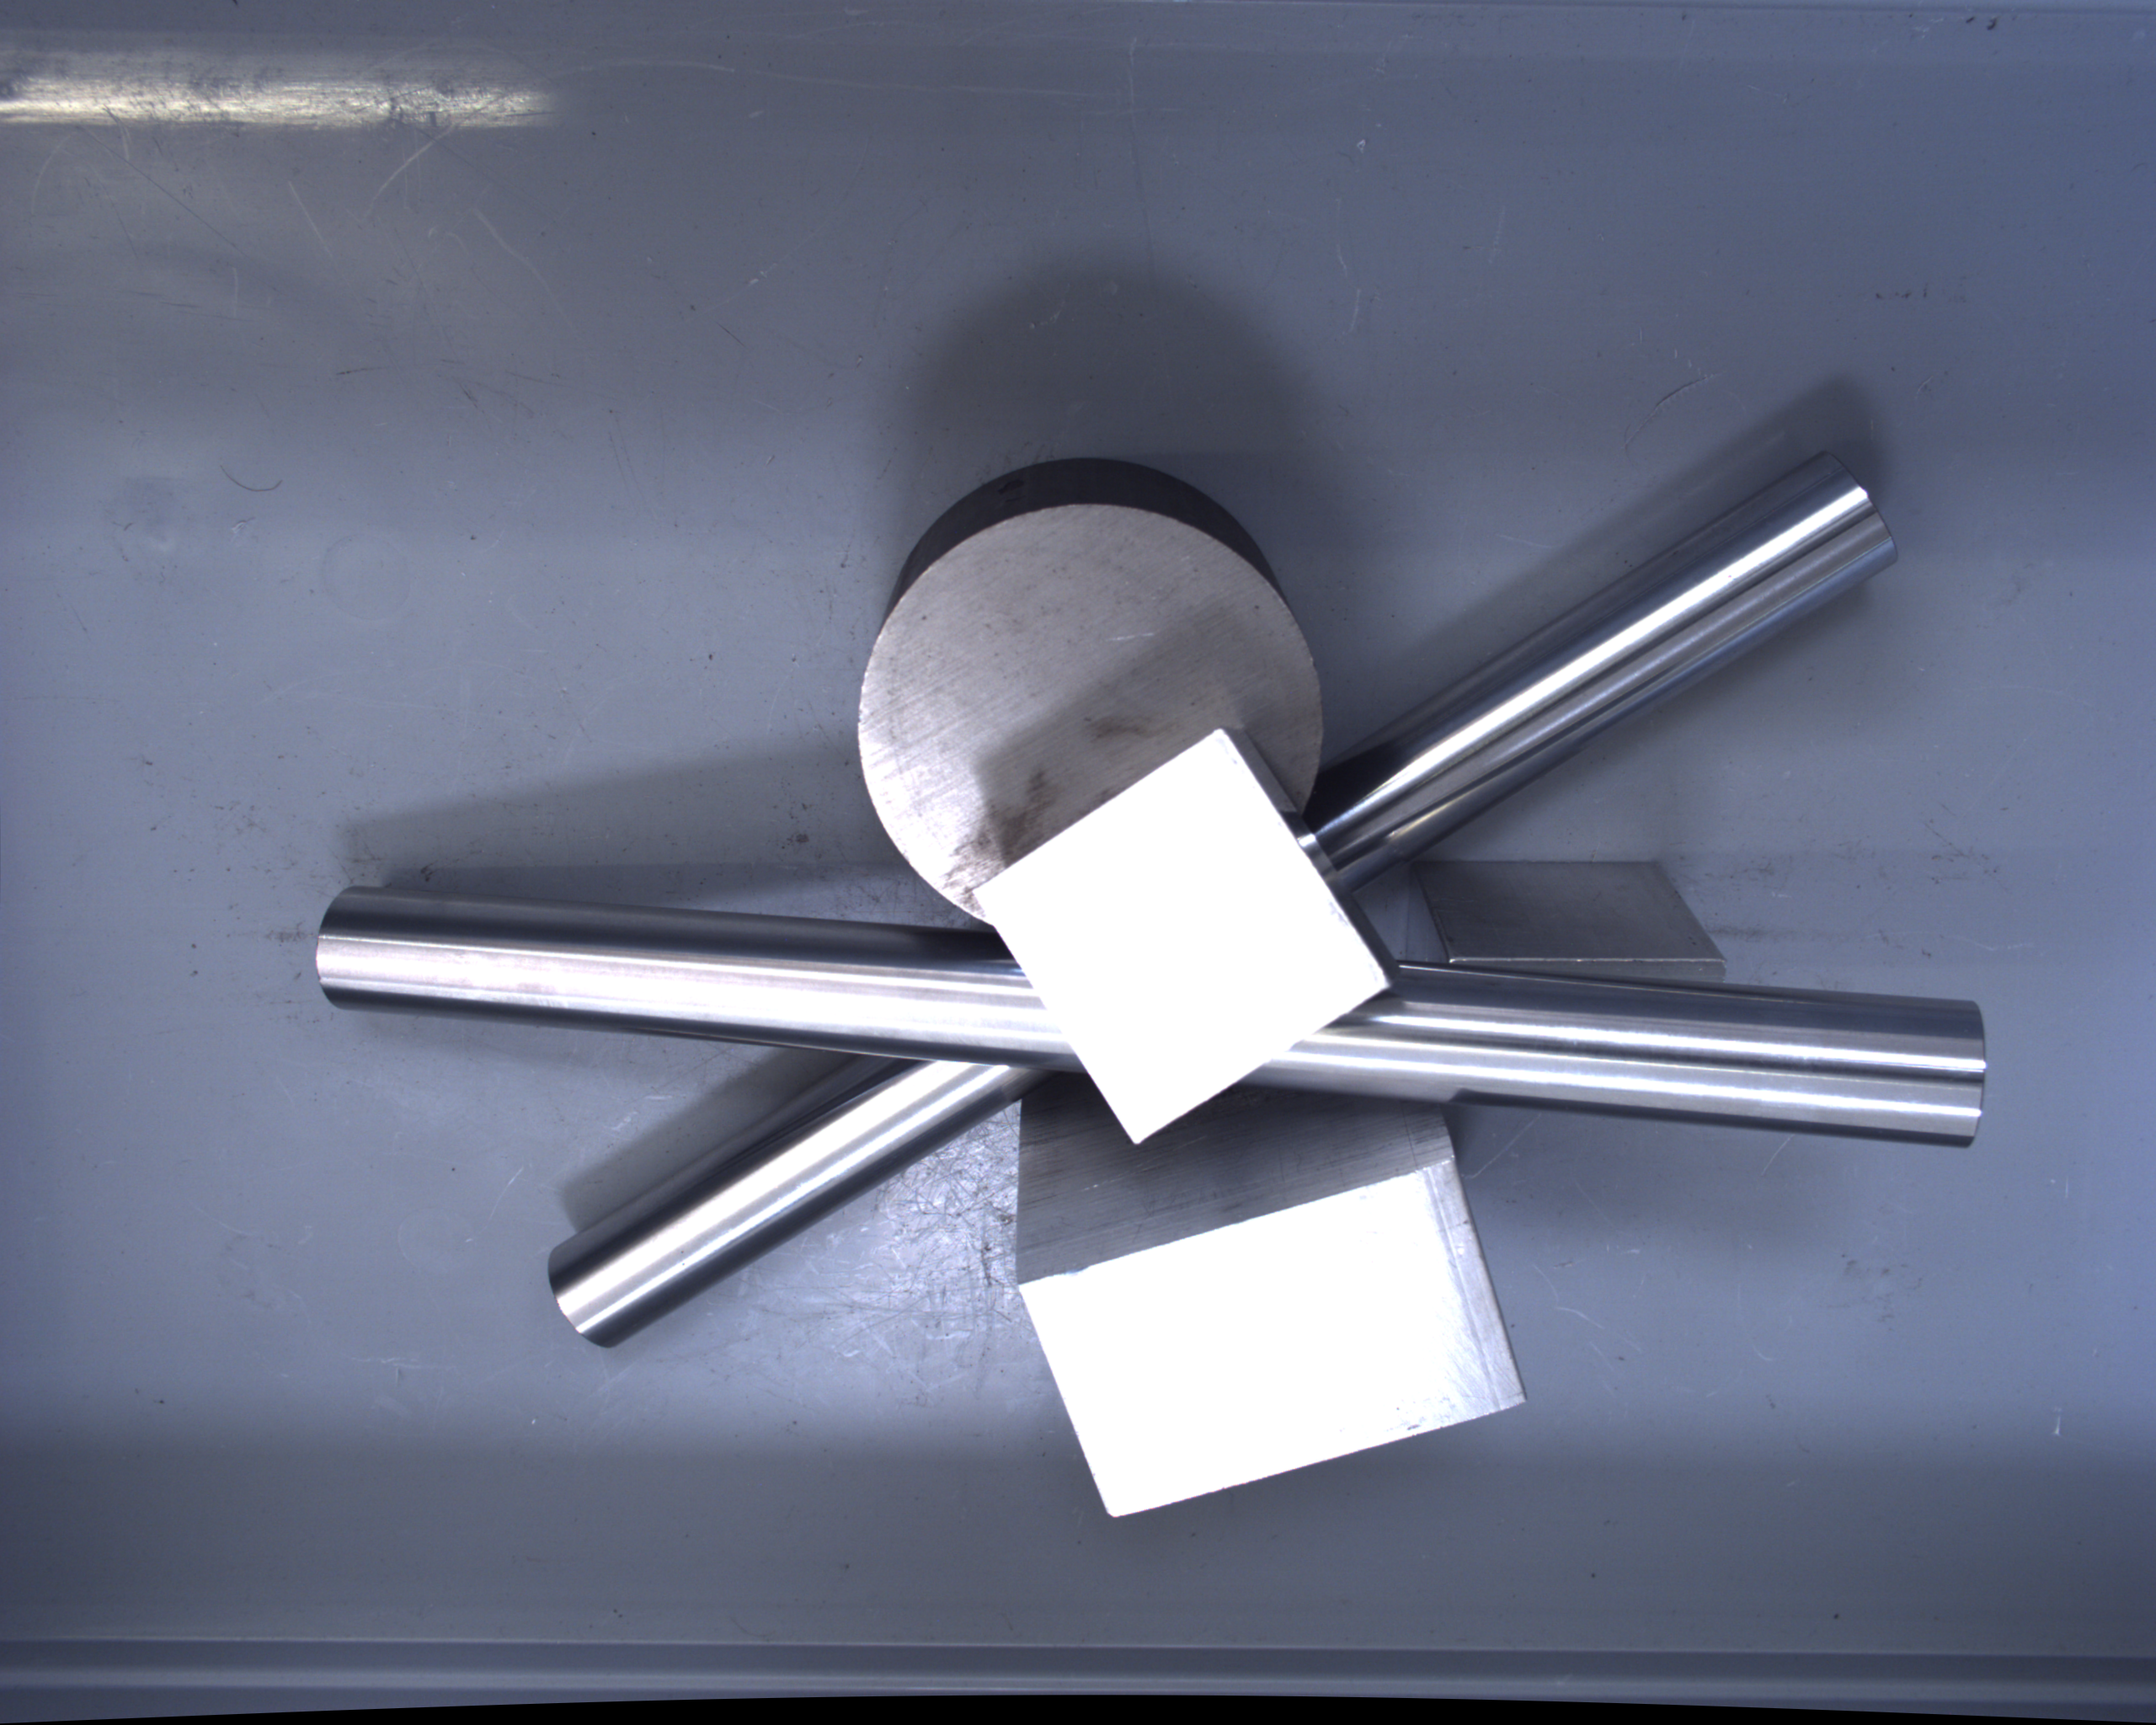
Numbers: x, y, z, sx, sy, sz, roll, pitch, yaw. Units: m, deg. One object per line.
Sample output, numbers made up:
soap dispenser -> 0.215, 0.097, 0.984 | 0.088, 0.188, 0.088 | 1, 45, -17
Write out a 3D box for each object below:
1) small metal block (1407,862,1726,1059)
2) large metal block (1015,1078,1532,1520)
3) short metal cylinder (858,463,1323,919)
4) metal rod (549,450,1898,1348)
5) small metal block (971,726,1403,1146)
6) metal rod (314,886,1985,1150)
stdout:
small metal block -> 0.092, 0.020, 0.405 | 0.050, 0.050, 0.025 | 1, 110, 1
large metal block -> 0.035, 0.072, 0.406 | 0.080, 0.080, 0.050 | -17, 109, 6
short metal cylinder -> 0.002, -0.031, 0.385 | 0.081, 0.050, 0.079 | 0, 109, 0
metal rod -> 0.020, 0.013, 0.415 | 0.300, 0.025, 0.025 | -32, 107, 11
small metal block -> 0.019, 0.012, 0.352 | 0.050, 0.025, 0.050 | -34, 84, 11
metal rod -> 0.003, 0.026, 0.382 | 0.301, 0.025, 0.025 | 4, 111, 12
